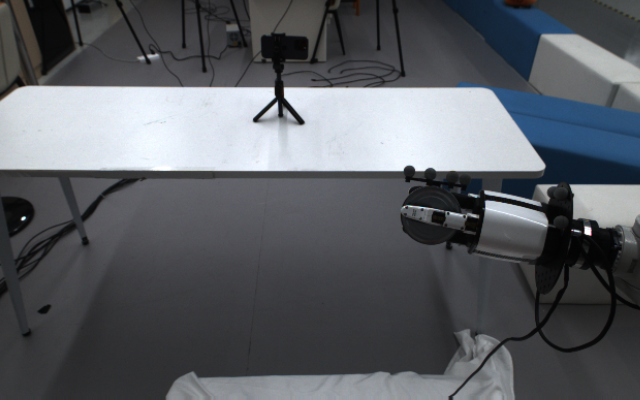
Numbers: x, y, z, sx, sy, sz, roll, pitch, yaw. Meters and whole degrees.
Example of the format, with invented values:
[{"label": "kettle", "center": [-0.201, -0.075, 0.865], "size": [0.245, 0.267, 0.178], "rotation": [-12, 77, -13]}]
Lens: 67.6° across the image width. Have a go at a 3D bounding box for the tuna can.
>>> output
[{"label": "tuna can", "center": [0.162, 0.017, 0.707], "size": [0.085, 0.085, 0.034], "rotation": [11, 1, 12]}]
